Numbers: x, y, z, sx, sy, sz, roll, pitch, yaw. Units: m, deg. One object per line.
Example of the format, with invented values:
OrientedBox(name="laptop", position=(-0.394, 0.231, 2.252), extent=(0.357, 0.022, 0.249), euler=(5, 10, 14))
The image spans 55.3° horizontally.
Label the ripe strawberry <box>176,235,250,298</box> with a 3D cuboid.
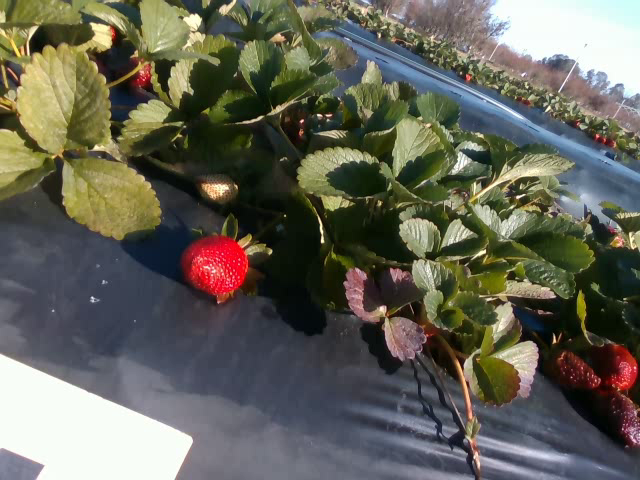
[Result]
OrientedBox(name="ripe strawberry", position=(-0.065, 0.016, 0.351), extent=(0.043, 0.043, 0.050), euler=(-38, -15, 9))
